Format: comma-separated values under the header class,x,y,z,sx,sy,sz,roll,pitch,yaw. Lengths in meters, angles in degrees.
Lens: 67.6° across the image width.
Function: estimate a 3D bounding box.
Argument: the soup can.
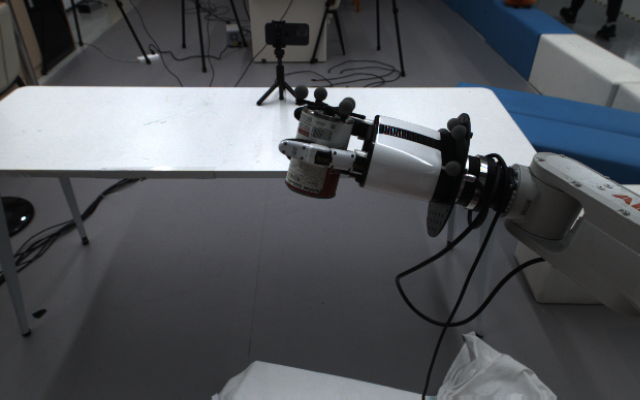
class,x,y,z,sx,sy,sz,roll,pitch,yaw
soup can,0.000,-0.060,0.611,0.067,0.101,0.067,13,18,-4
